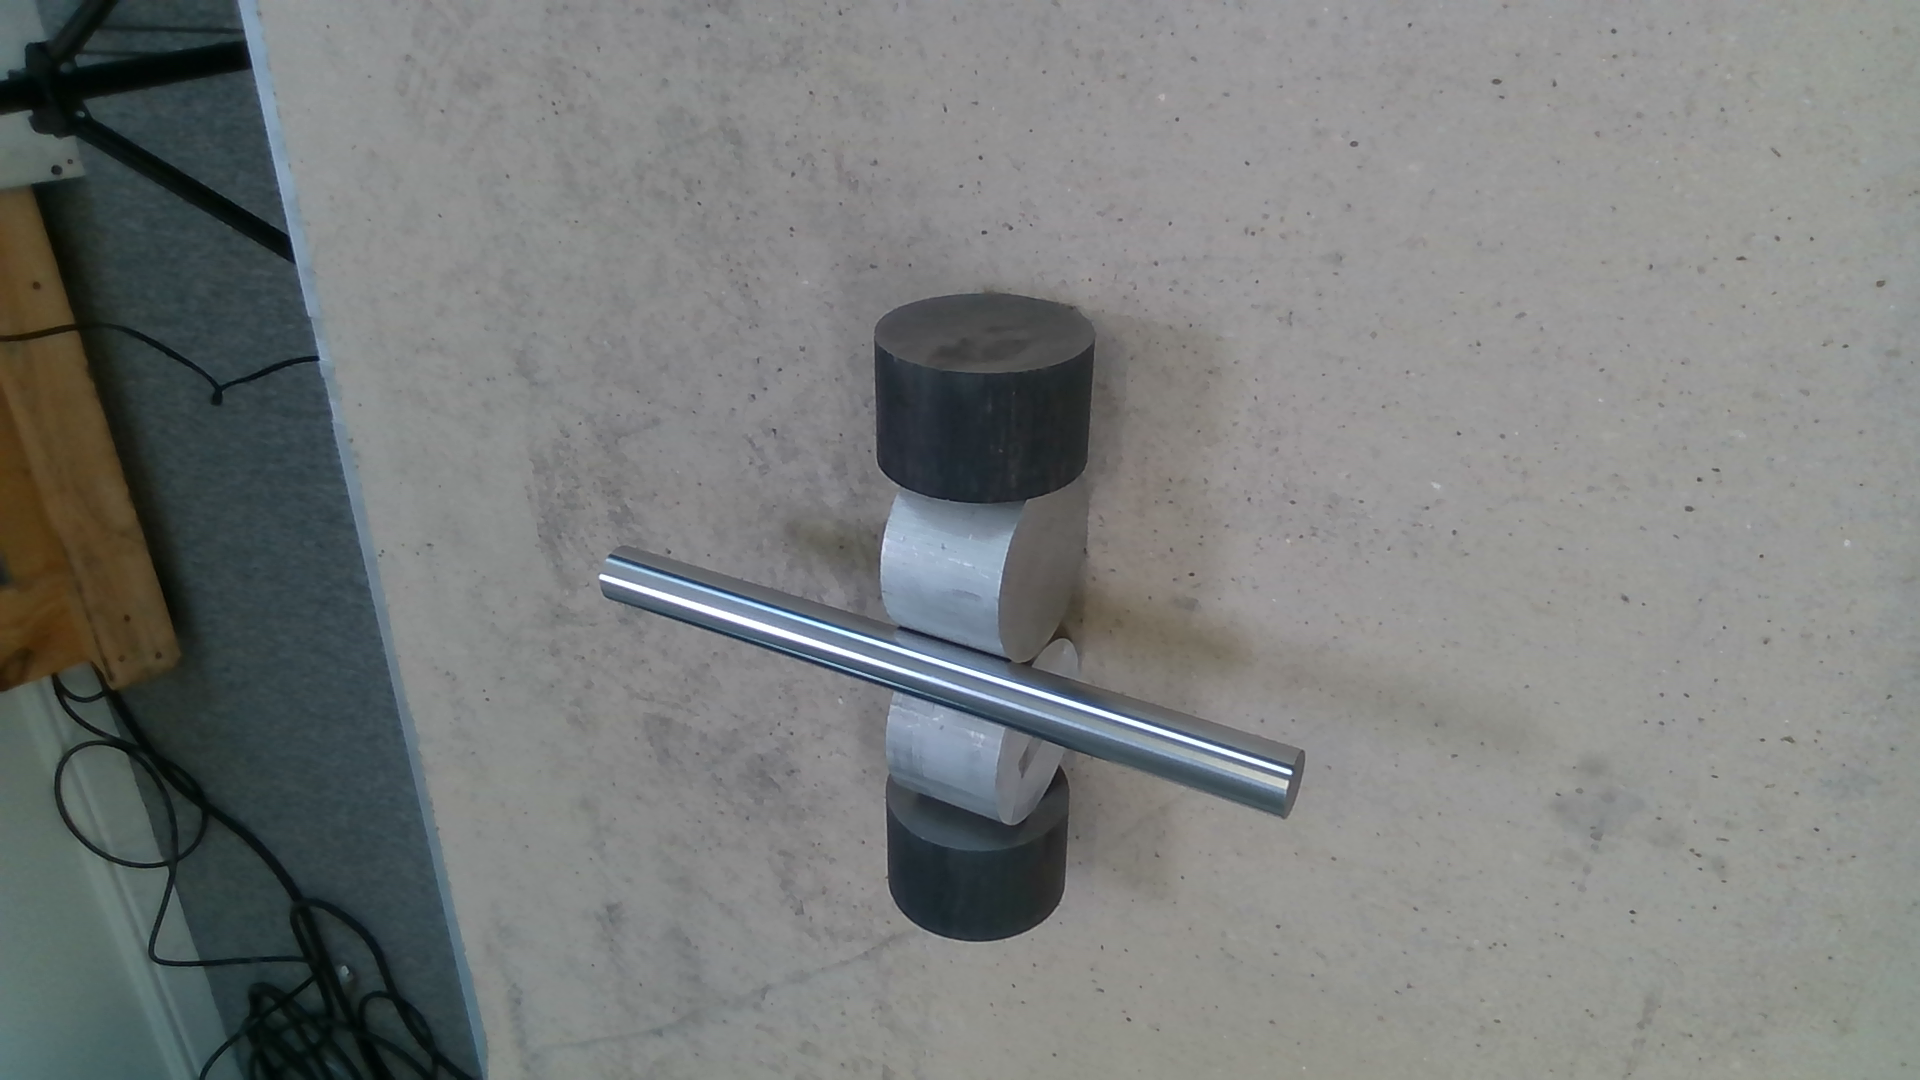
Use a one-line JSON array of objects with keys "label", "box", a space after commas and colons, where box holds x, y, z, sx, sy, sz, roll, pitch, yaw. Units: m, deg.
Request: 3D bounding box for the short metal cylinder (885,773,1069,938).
[{"label": "short metal cylinder", "box": [0.007, 0.129, 0.612, 0.080, 0.080, 0.050, 15, 122, 24]}]

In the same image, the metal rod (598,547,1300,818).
[{"label": "metal rod", "box": [-0.017, 0.049, 0.538, 0.300, 0.025, 0.025, 15, 122, 24]}]

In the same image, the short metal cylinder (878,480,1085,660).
[{"label": "short metal cylinder", "box": [0.010, 0.002, 0.540, 0.050, 0.080, 0.080, 15, 122, 24]}]

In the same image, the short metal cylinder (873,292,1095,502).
[{"label": "short metal cylinder", "box": [0.008, -0.055, 0.510, 0.080, 0.080, 0.050, 15, 122, 24]}]

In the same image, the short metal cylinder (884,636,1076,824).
[{"label": "short metal cylinder", "box": [0.010, 0.073, 0.578, 0.050, 0.080, 0.080, 15, 122, 24]}]
